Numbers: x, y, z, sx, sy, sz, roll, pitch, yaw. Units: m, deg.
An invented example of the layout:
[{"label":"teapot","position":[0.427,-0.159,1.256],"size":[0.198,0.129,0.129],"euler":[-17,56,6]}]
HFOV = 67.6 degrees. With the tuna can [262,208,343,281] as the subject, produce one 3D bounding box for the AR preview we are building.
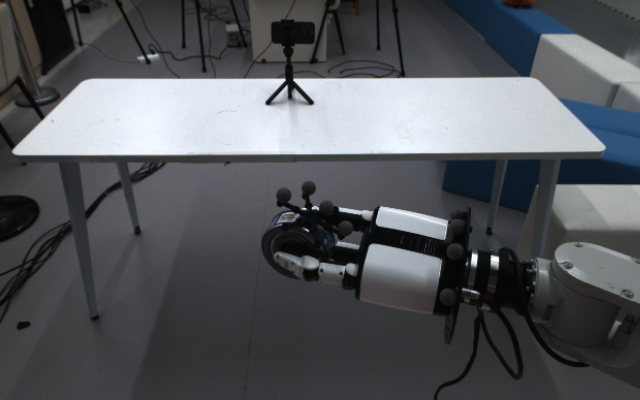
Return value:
[{"label":"tuna can","position":[-0.023,0.061,0.585],"size":[0.085,0.085,0.034],"euler":[12,35,14]}]
